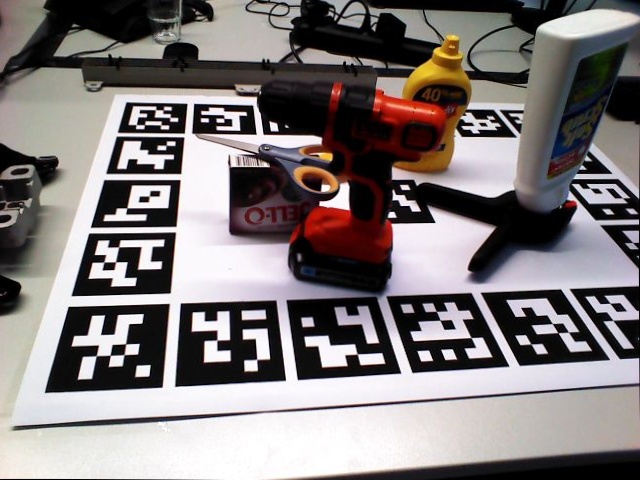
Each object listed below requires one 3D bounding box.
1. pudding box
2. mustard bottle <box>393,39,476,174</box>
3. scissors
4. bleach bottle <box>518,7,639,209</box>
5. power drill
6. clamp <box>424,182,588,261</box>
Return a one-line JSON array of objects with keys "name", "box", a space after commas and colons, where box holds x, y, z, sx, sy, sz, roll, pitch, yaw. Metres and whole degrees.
[{"name": "pudding box", "box": [-0.060, -0.059, 0.625, 0.114, 0.090, 0.038, 2, 35, -6]}, {"name": "mustard bottle", "box": [0.167, -0.186, 0.732, 0.096, 0.192, 0.058, 9, 41, 1]}, {"name": "scissors", "box": [-0.064, -0.112, 0.587, 0.203, 0.016, 0.087, 19, 46, 7]}, {"name": "bleach bottle", "box": [0.296, -0.131, 0.613, 0.102, 0.251, 0.068, -19, 43, -17]}, {"name": "power drill", "box": [0.016, -0.063, 0.521, 0.185, 0.187, 0.057, 6, 34, 3]}, {"name": "clamp", "box": [0.253, -0.042, 0.665, 0.202, 0.037, 0.165, -4, 44, -15]}]
